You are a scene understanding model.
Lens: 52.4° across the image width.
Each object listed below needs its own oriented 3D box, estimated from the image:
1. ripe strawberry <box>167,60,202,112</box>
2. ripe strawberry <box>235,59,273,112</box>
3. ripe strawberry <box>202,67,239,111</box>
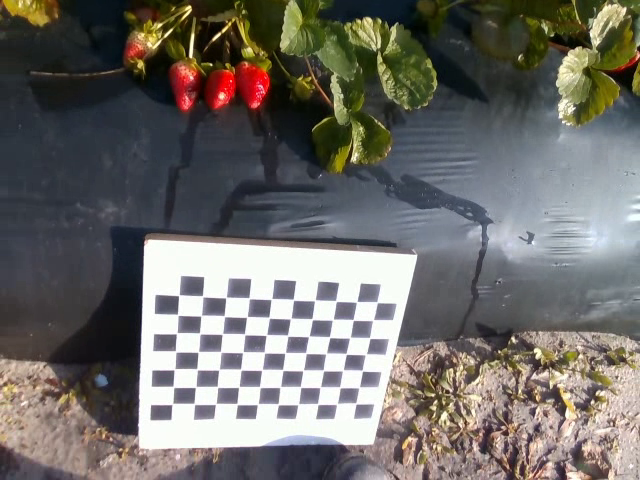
[{"bbox_3d":[-0.116,-0.134,0.555,0.031,0.046,0.023,3,9,-10],"label":"ripe strawberry"},{"bbox_3d":[-0.059,-0.130,0.562,0.035,0.041,0.034,-1,-26,-8],"label":"ripe strawberry"},{"bbox_3d":[-0.087,-0.130,0.553,0.030,0.039,0.037,13,-43,-14],"label":"ripe strawberry"}]
